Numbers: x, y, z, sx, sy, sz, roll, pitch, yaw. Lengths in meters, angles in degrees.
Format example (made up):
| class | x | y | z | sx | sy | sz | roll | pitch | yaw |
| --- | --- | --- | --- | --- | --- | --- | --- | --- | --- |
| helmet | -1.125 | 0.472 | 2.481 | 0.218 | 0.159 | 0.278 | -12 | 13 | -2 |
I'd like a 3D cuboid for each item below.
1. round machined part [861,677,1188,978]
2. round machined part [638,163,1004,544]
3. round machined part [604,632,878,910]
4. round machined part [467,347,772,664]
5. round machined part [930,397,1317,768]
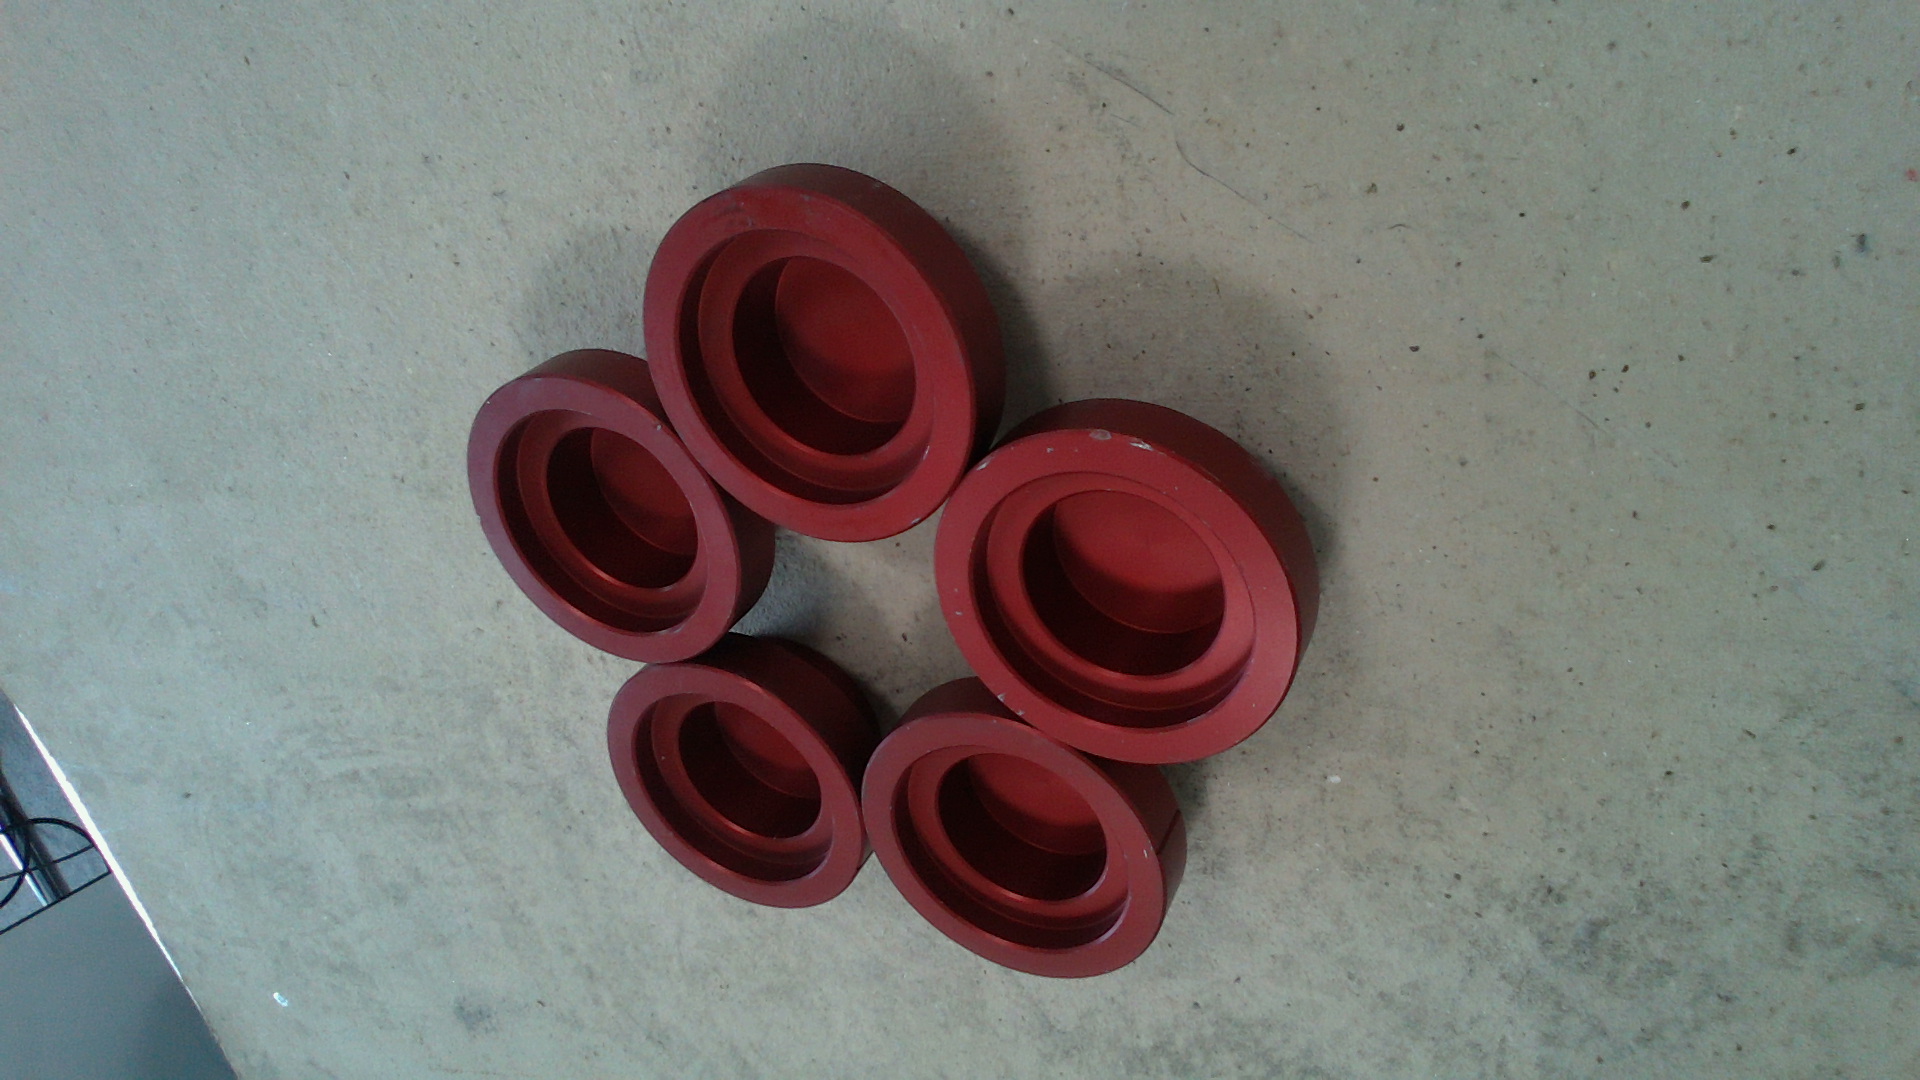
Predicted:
| class | x | y | z | sx | sy | sz | roll | pitch | yaw |
| --- | --- | --- | --- | --- | --- | --- | --- | --- | --- |
| round machined part | 0.022 | 0.082 | 0.421 | 0.098 | 0.042 | 0.098 | 13 | 123 | 20 |
| round machined part | -0.033 | -0.052 | 0.367 | 0.098 | 0.042 | 0.098 | 12 | 122 | 21 |
| round machined part | -0.066 | 0.072 | 0.462 | 0.098 | 0.042 | 0.098 | 12 | 122 | 21 |
| round machined part | -0.100 | -0.014 | 0.427 | 0.098 | 0.042 | 0.098 | 13 | 122 | 21 |
| round machined part | 0.045 | 0.008 | 0.362 | 0.098 | 0.042 | 0.098 | 12 | 122 | 21 |
